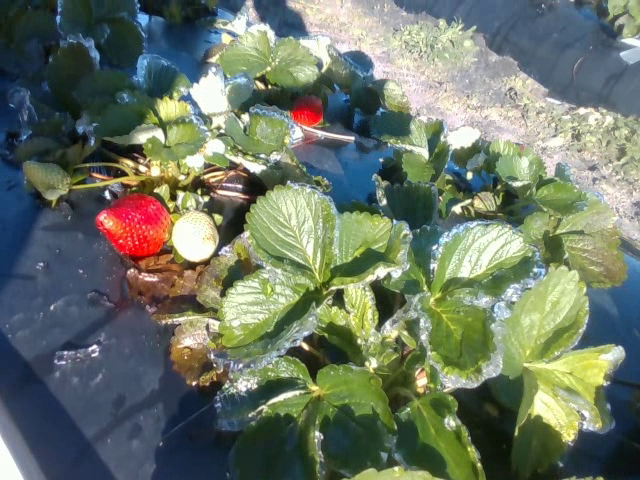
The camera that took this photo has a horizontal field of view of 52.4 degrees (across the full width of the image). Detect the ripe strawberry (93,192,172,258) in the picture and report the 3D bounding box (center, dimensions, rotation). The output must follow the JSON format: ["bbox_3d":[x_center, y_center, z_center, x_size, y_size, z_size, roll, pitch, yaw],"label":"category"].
[{"bbox_3d":[-0.107,-0.008,0.346,0.040,0.042,0.053,3,-2,16],"label":"ripe strawberry"}]
